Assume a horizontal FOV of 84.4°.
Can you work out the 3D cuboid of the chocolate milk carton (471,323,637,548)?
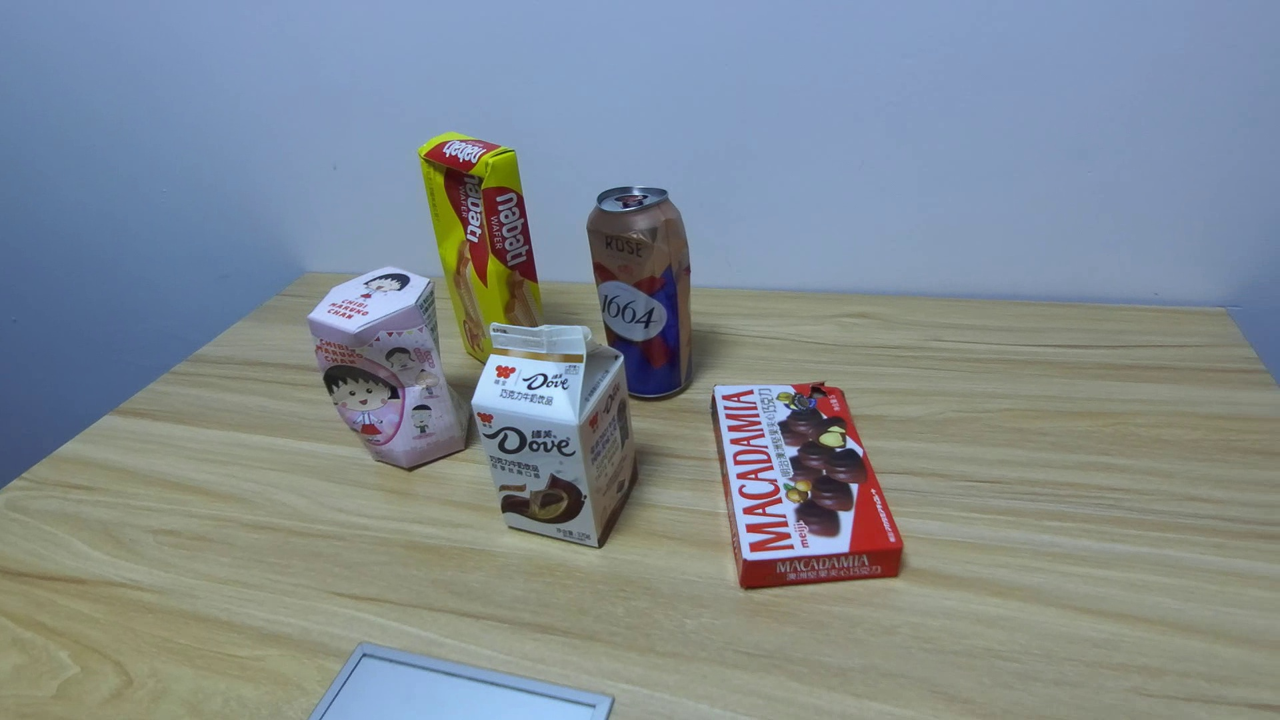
[{"bbox_3d":[-0.053,0.038,0.456,0.075,0.148,0.074,8,37,20],"label":"chocolate milk carton"}]

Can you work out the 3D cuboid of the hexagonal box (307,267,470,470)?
[{"bbox_3d":[-0.189,0.007,0.545,0.089,0.135,0.093,-9,35,-3],"label":"hexagonal box"}]

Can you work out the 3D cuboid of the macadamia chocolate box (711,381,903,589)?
[{"bbox_3d":[0.106,0.071,0.485,0.103,0.027,0.186,-4,34,1],"label":"macadamia chocolate box"}]

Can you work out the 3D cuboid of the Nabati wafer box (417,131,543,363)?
[{"bbox_3d":[-0.131,-0.082,0.602,0.042,0.204,0.096,-28,39,-32],"label":"Nabati wafer box"}]

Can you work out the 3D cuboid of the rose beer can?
[{"bbox_3d":[0.005,-0.051,0.560,0.065,0.167,0.075,-27,36,-30],"label":"rose beer can"}]
